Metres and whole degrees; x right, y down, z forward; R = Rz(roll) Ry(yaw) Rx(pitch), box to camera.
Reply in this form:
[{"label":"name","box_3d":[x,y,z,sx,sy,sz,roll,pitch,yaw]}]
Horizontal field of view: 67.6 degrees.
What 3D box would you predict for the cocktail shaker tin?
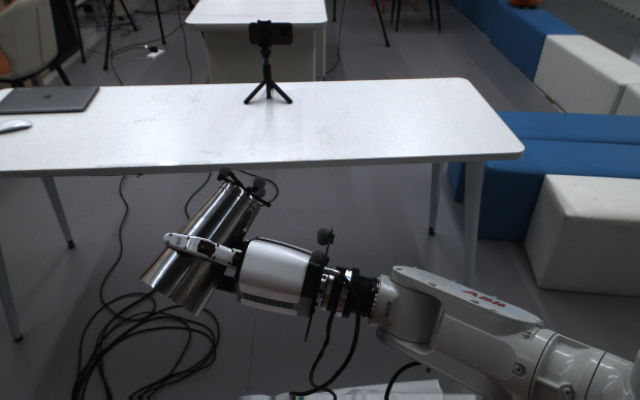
[{"label":"cocktail shaker tin","box_3d":[-0.156,0.057,0.660,0.093,0.093,0.170,22,67,26]}]
